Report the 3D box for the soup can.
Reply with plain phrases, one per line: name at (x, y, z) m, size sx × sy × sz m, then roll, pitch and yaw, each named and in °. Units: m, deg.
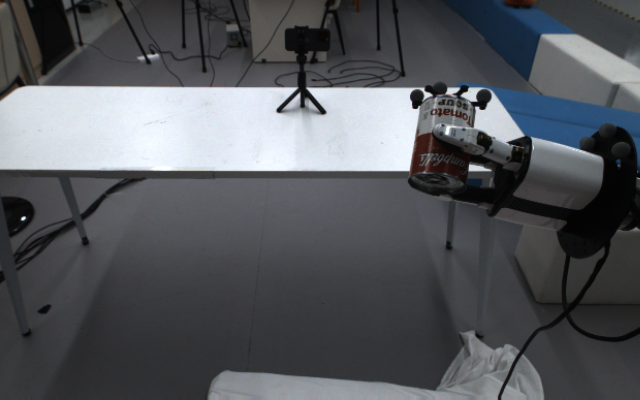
soup can at (0.147, -0.067, 0.578) m, size 0.067 × 0.067 × 0.101 m, roll 9°, pitch 74°, yaw 9°
